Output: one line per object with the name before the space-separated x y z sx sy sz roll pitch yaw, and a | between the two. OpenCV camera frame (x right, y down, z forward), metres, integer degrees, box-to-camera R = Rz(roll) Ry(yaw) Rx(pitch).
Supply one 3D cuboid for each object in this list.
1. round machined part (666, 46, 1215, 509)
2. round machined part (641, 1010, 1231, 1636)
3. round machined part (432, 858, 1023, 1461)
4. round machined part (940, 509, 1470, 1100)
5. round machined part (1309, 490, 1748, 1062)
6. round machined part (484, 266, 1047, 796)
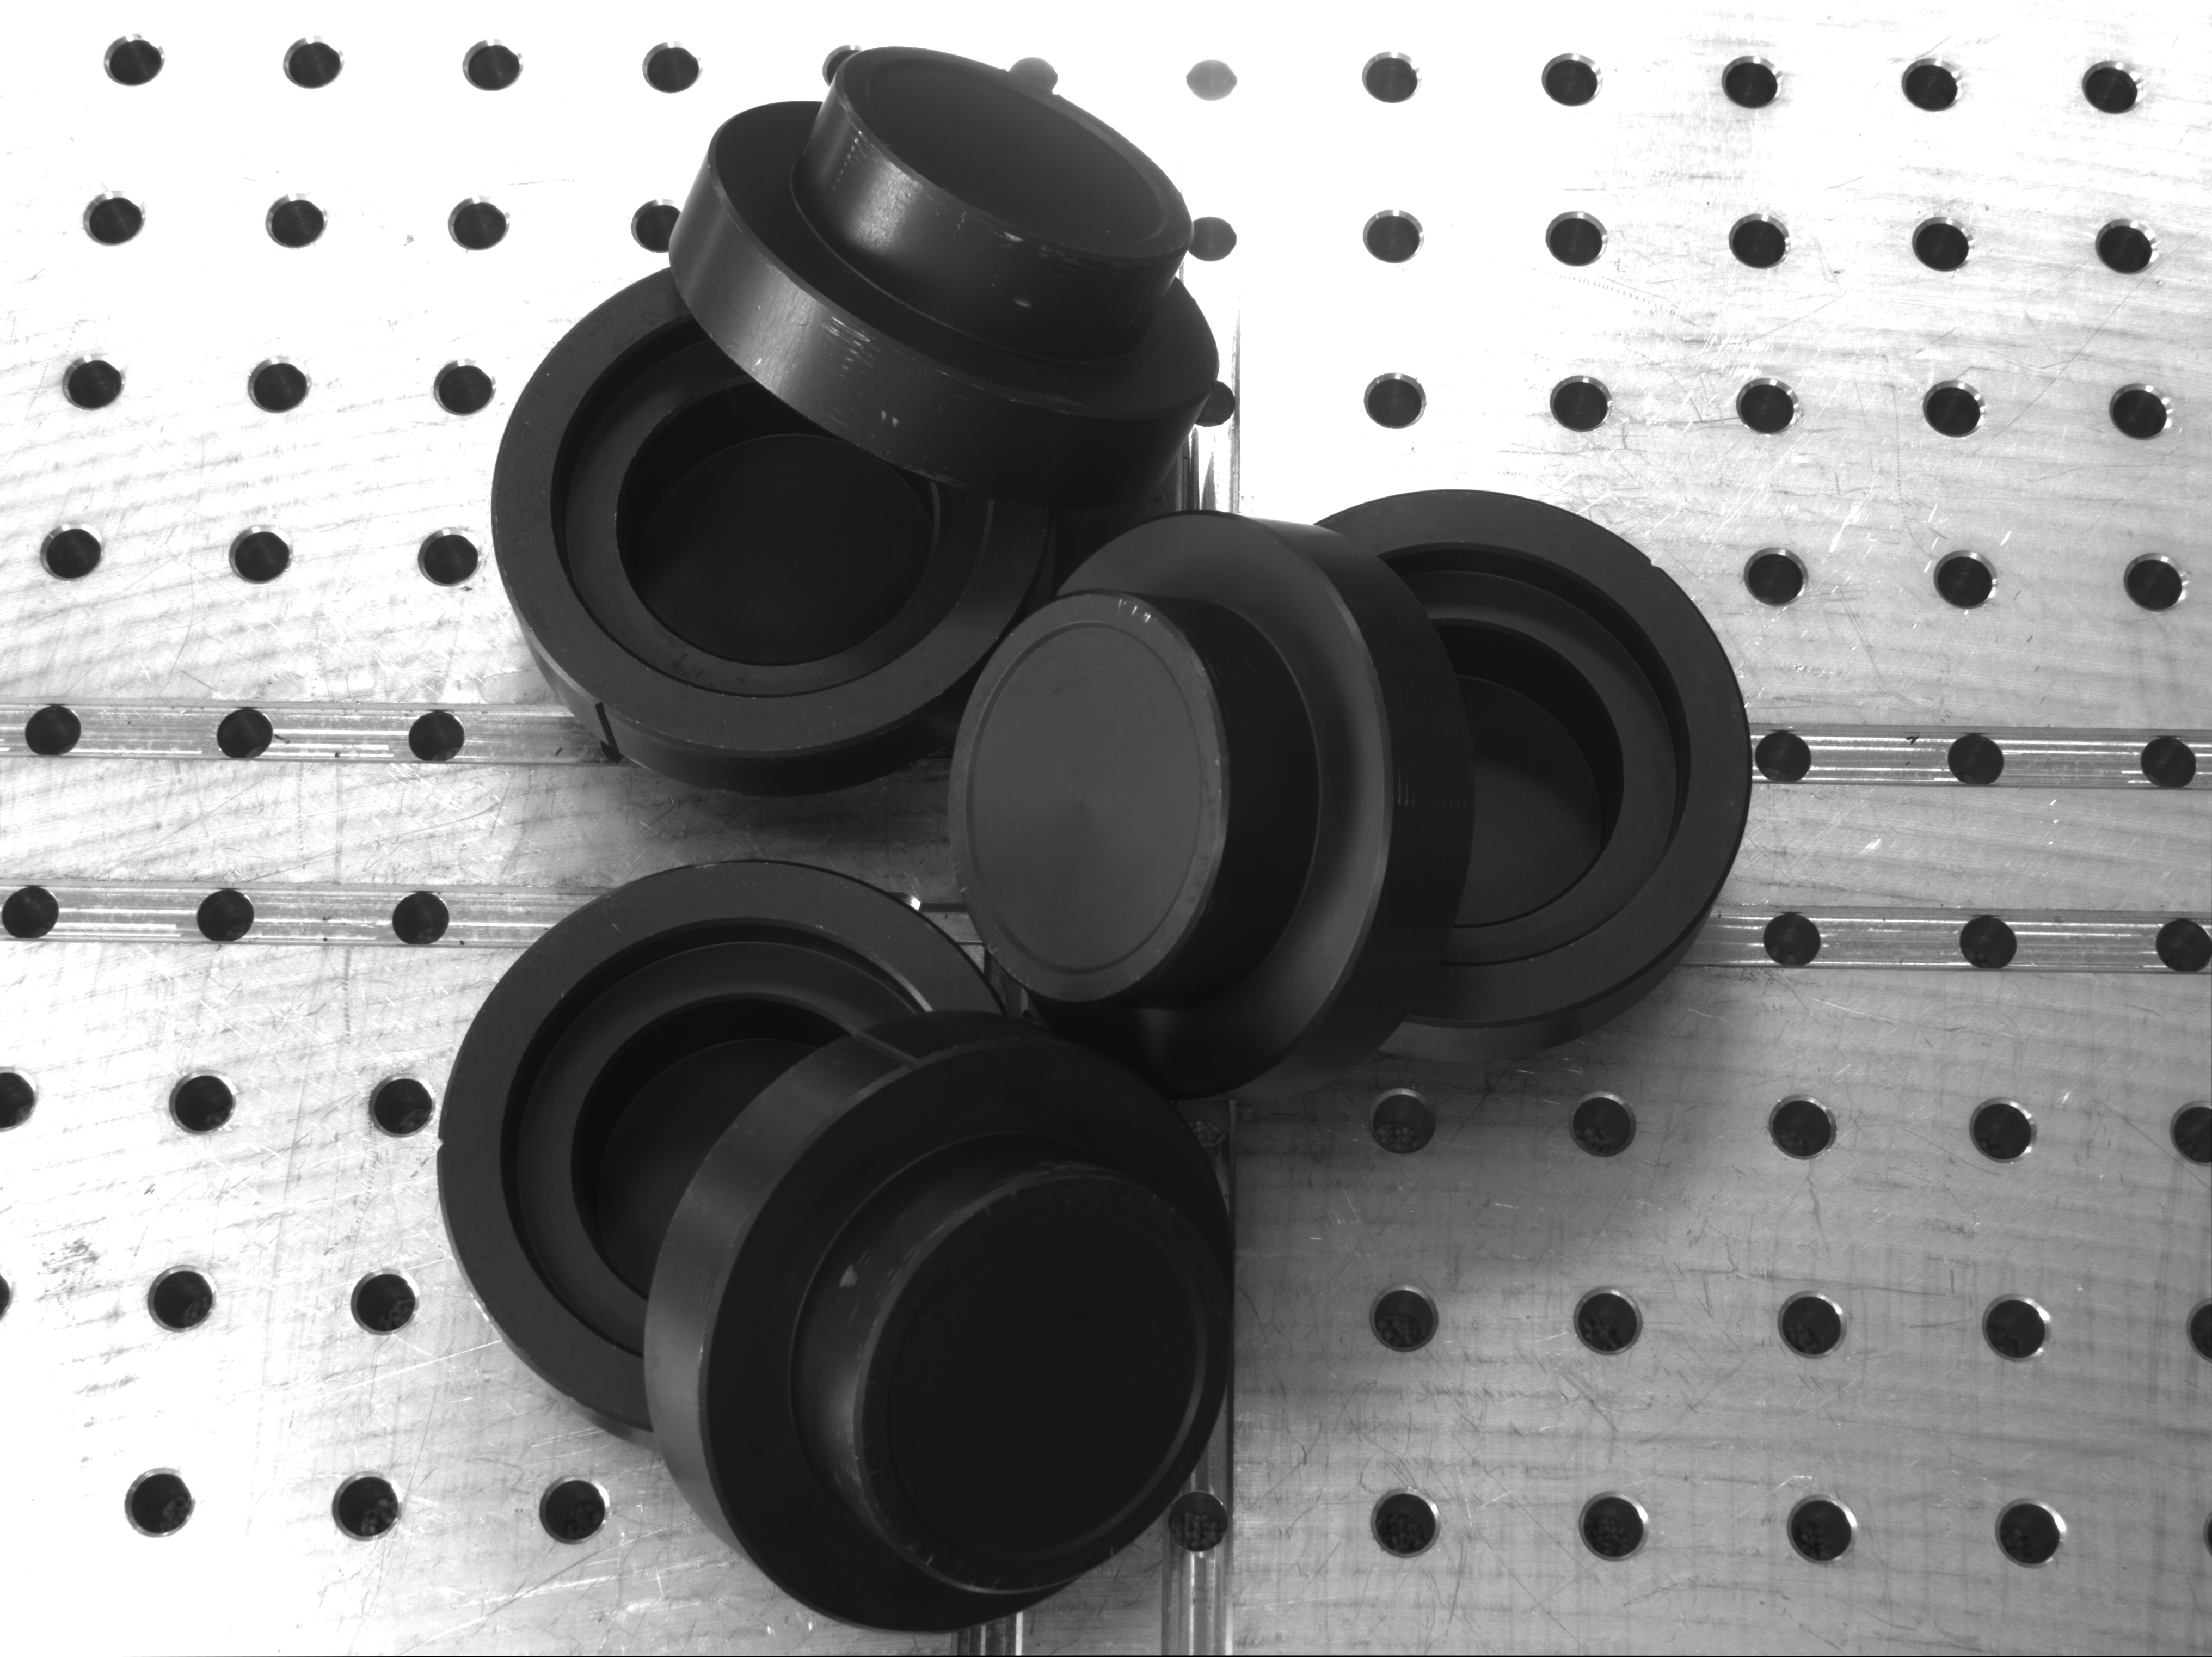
round machined part | -0.024 -0.102 0.647 0.098 0.042 0.098 22 30 -13
round machined part | -0.020 0.081 0.579 0.098 0.042 0.098 -8 105 -32
round machined part | -0.061 0.058 0.617 0.098 0.042 0.098 0 70 0
round machined part | 0.010 -0.004 0.608 0.042 0.098 0.098 5 63 -43
round machined part | 0.060 -0.006 0.641 0.098 0.042 0.098 0 70 0
round machined part | -0.059 -0.051 0.657 0.098 0.042 0.098 0 70 0
